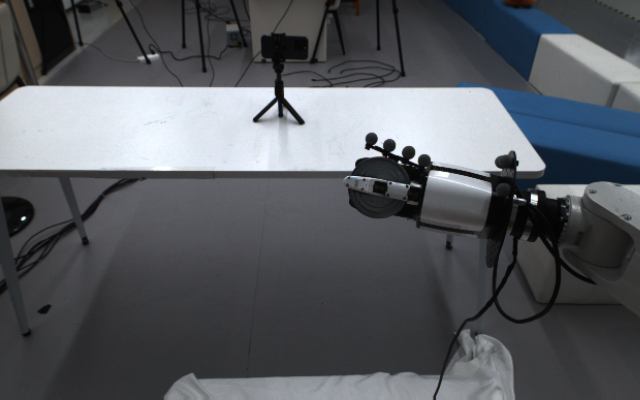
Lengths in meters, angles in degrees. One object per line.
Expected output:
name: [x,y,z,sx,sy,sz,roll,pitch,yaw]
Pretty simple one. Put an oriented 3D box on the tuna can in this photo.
tuna can: [0.087,-0.019,0.678,0.085,0.085,0.034,14,2,16]
